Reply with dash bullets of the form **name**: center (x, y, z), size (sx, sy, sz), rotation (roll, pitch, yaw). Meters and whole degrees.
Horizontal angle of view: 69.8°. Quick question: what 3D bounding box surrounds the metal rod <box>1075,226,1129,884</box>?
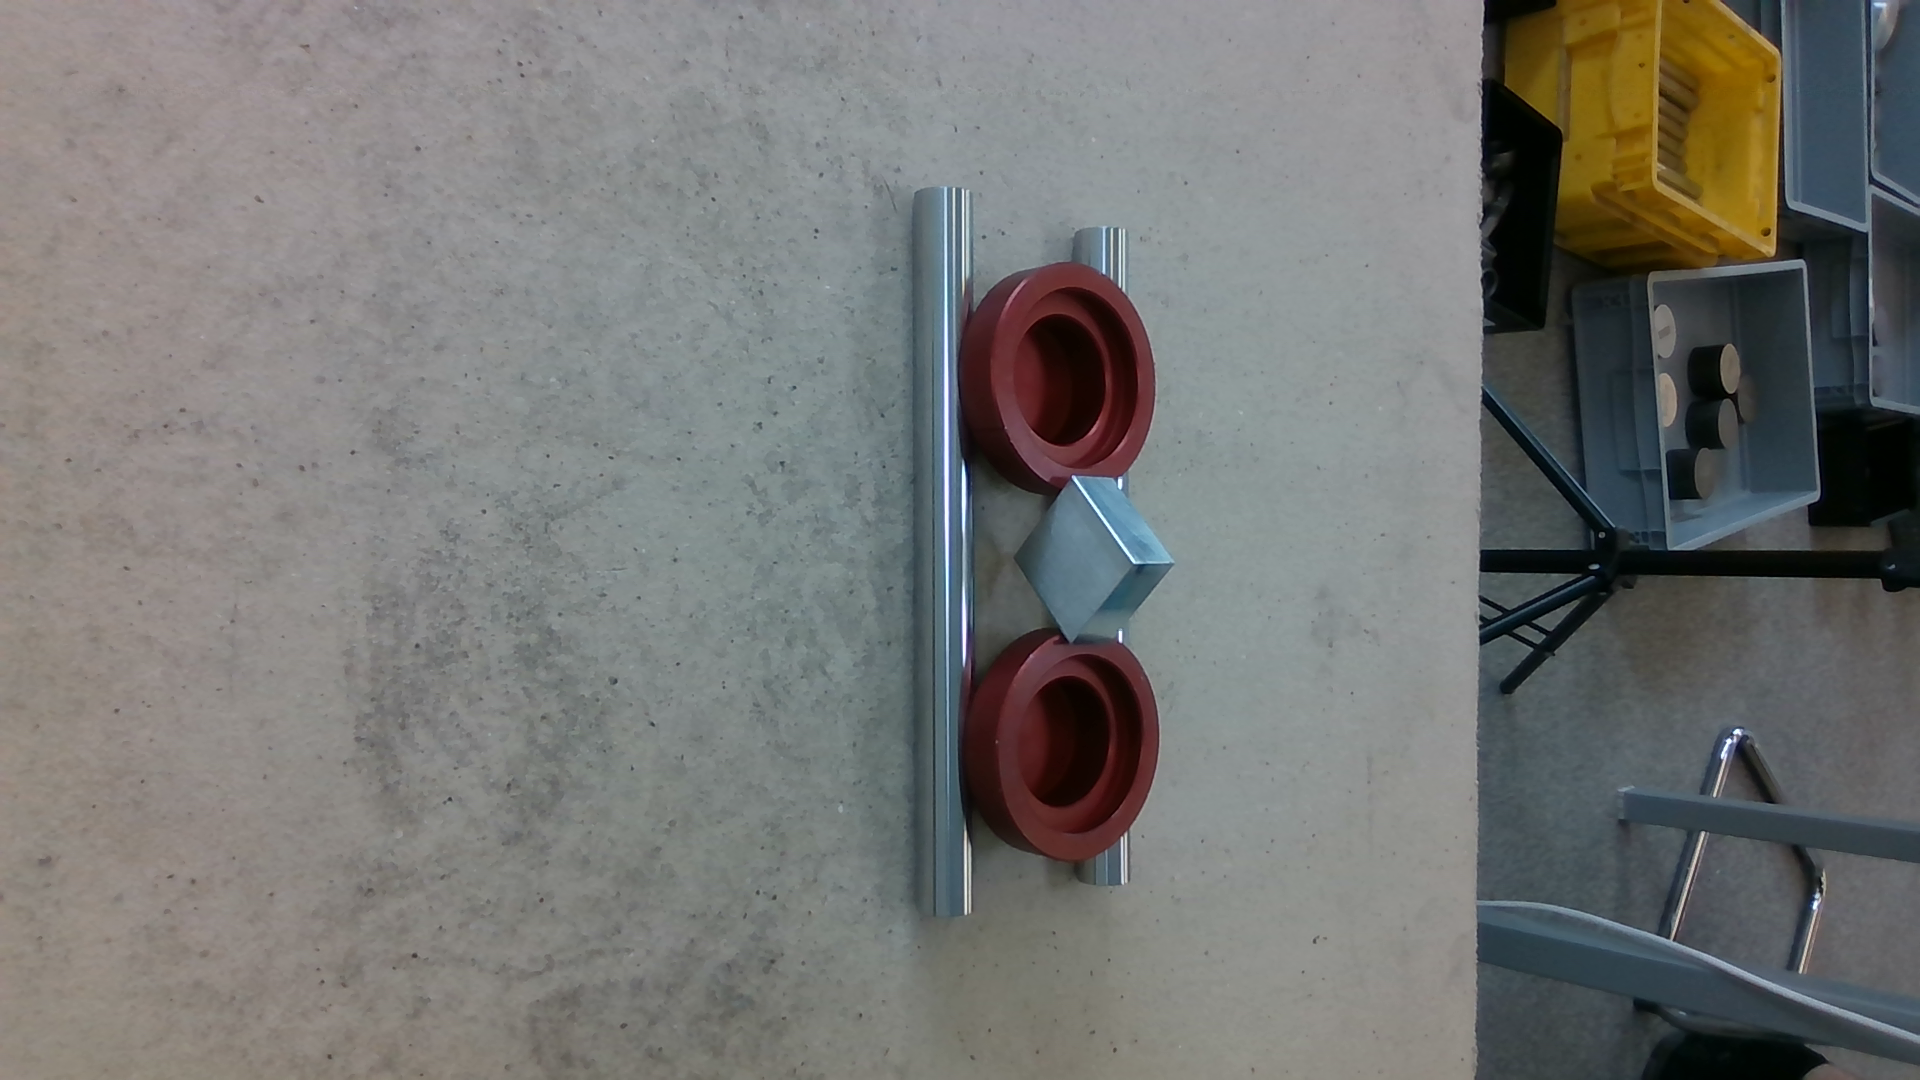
- **metal rod**: center (0.066, 0.007, 0.639), size (0.025, 0.025, 0.300), rotation (0, 90, -40)

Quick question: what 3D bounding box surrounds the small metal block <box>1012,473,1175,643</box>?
- **small metal block**: center (0.055, 0.008, 0.580), size (0.025, 0.050, 0.050), rotation (0, 47, -41)

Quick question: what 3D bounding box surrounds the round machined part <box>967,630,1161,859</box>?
- **round machined part**: center (0.039, 0.086, 0.599), size (0.098, 0.042, 0.098), rotation (0, 90, -40)

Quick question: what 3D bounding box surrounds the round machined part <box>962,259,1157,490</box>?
- **round machined part**: center (0.038, -0.070, 0.598), size (0.098, 0.042, 0.098), rotation (0, 90, -40)

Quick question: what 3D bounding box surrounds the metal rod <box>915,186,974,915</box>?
- **metal rod**: center (-0.006, 0.005, 0.578), size (0.025, 0.025, 0.300), rotation (0, 90, -40)
